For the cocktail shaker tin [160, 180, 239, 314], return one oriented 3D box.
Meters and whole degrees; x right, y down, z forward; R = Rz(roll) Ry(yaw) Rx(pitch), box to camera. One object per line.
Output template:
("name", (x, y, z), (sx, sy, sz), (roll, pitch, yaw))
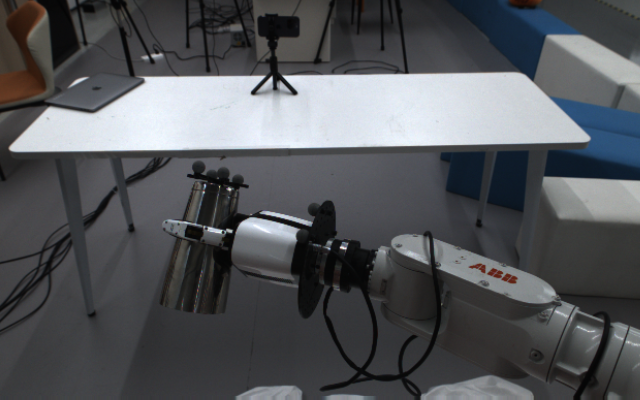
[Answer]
("cocktail shaker tin", (-0.160, 0.065, 0.675), (0.093, 0.170, 0.093), (10, -5, 1))
